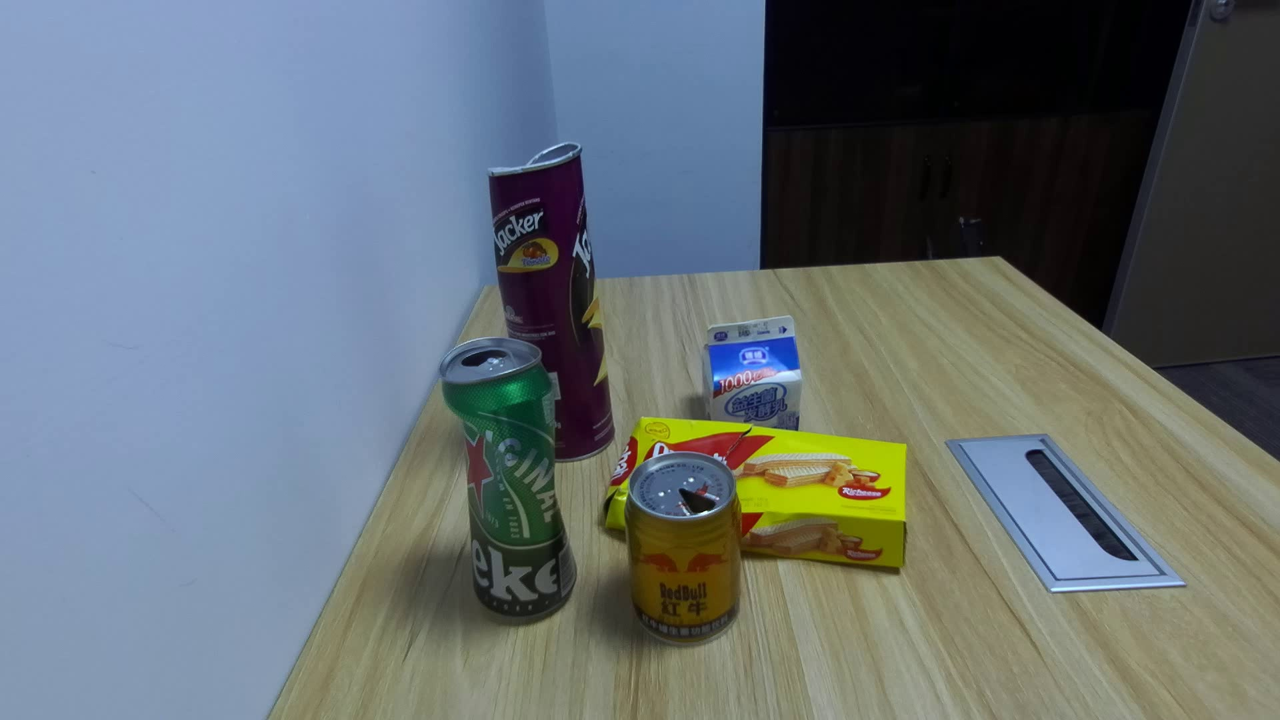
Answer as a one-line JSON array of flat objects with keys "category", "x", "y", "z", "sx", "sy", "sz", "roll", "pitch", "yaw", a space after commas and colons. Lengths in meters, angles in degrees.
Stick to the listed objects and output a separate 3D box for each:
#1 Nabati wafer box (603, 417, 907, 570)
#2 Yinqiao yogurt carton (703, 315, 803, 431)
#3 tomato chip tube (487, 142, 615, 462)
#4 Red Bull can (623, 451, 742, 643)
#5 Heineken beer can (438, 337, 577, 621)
[{"category": "Nabati wafer box", "x": 0.078, "y": 0.090, "z": 0.493, "sx": 0.203, "sy": 0.042, "sz": 0.107, "roll": 4, "pitch": 28, "yaw": 17}, {"category": "Yinqiao yogurt carton", "x": 0.091, "y": 0.008, "z": 0.588, "sx": 0.075, "sy": 0.092, "sz": 0.073, "roll": -5, "pitch": 27, "yaw": 1}, {"category": "tomato chip tube", "x": -0.067, "y": -0.039, "z": 0.548, "sx": 0.078, "sy": 0.235, "sz": 0.076, "roll": -12, "pitch": 29, "yaw": -14}, {"category": "Red Bull can", "x": 0.026, "y": 0.107, "z": 0.408, "sx": 0.067, "sy": 0.093, "sz": 0.067, "roll": -2, "pitch": 28, "yaw": 1}, {"category": "Heineken beer can", "x": -0.075, "y": 0.074, "z": 0.415, "sx": 0.066, "sy": 0.164, "sz": 0.077, "roll": 0, "pitch": 23, "yaw": 6}]
